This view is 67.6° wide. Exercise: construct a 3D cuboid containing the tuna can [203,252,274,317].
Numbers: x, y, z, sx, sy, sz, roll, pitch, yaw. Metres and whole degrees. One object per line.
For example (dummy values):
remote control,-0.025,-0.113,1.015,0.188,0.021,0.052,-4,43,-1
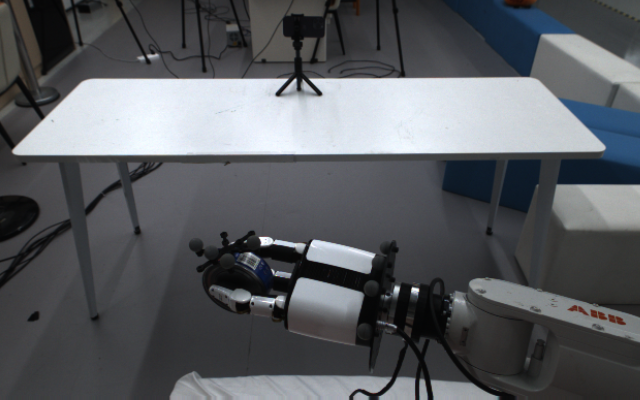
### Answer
tuna can,-0.101,0.108,0.613,0.085,0.085,0.034,10,33,11
